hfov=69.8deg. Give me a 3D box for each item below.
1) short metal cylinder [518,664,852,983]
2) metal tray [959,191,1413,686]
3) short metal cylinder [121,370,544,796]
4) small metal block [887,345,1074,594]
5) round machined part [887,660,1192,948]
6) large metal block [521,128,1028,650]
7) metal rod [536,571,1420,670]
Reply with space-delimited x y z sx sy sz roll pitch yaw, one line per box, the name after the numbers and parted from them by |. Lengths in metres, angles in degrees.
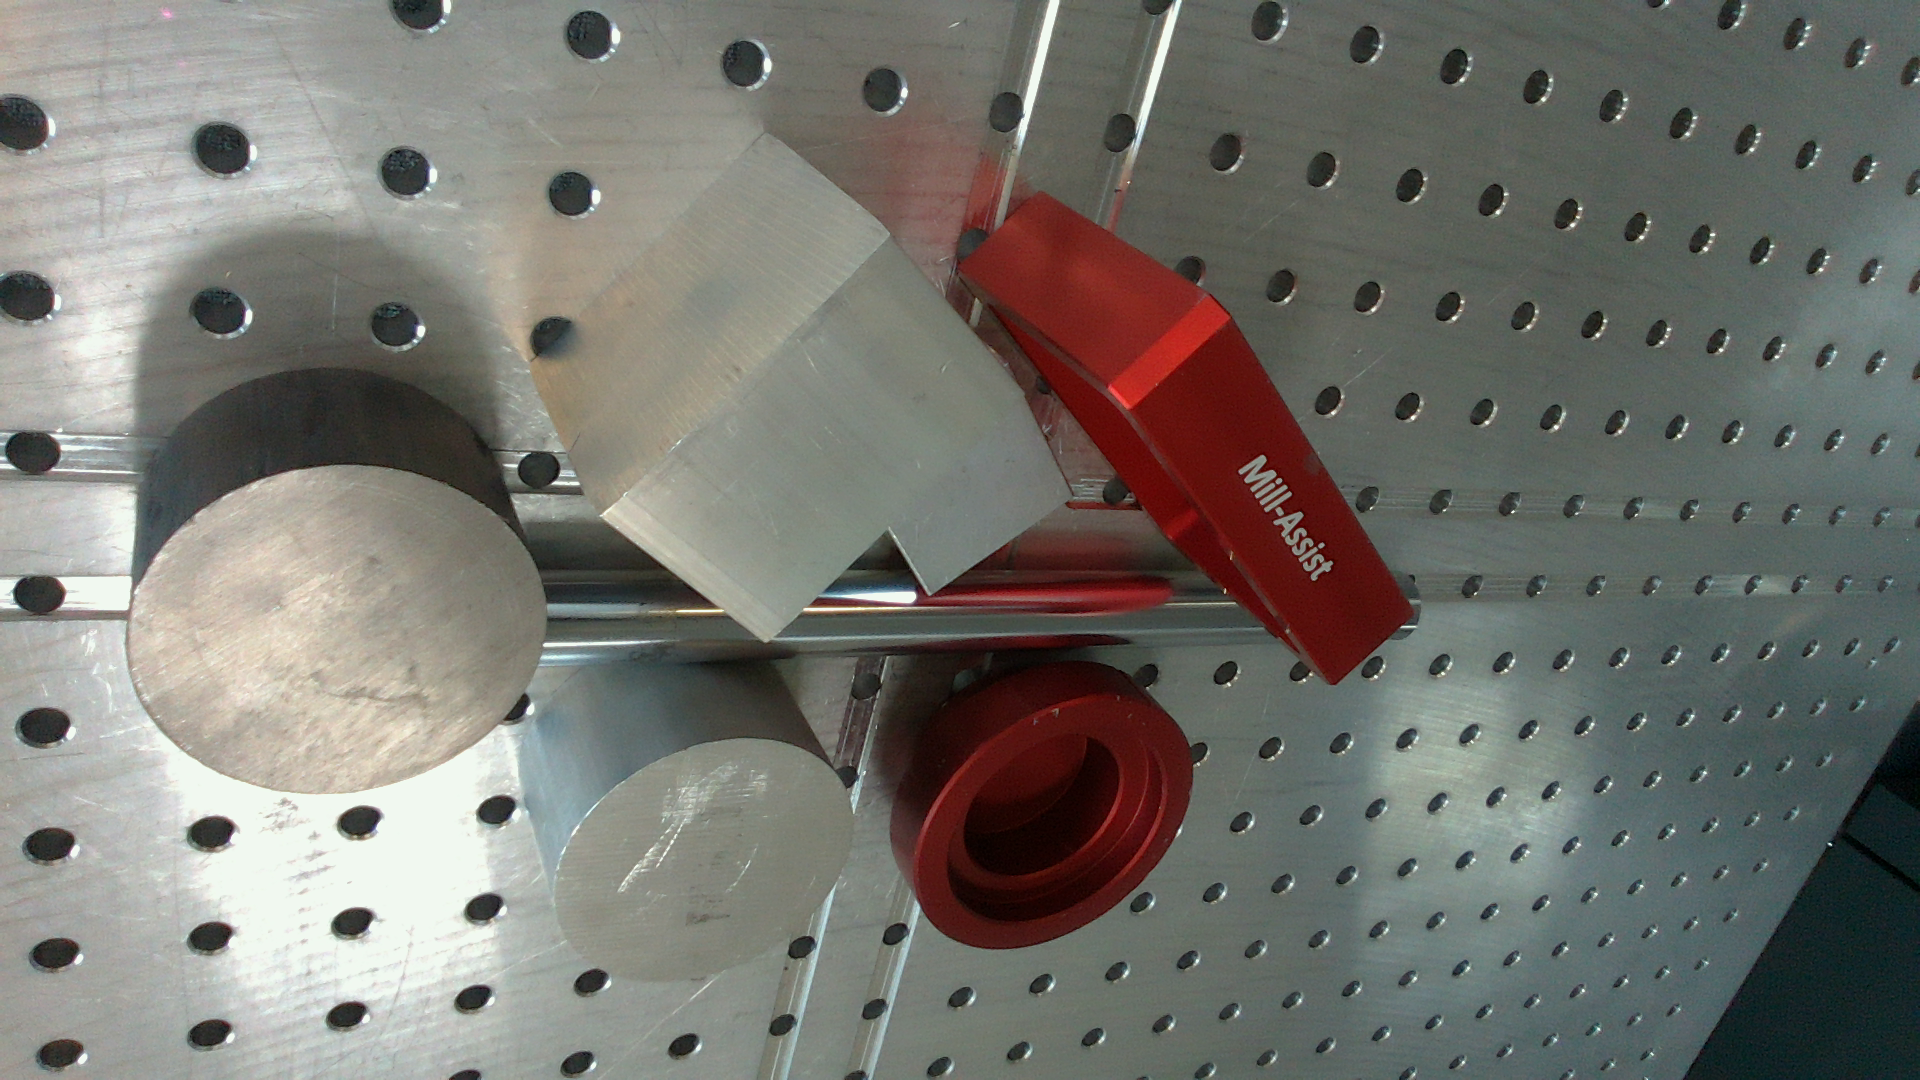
-0.076 0.074 0.379 0.080 0.050 0.080 -14 124 -21 | short metal cylinder
0.061 -0.025 0.367 0.030 0.090 0.130 -42 129 1 | metal tray
-0.138 0.009 0.306 0.080 0.050 0.080 -14 124 -21 | short metal cylinder
-0.003 -0.022 0.377 0.050 0.025 0.050 -34 129 -6 | small metal block
0.022 0.079 0.442 0.098 0.042 0.098 -14 124 -21 | round machined part
-0.045 -0.037 0.310 0.080 0.080 0.050 -44 130 2 | large metal block
0.022 0.022 0.417 0.301 0.025 0.025 1 118 -29 | metal rod
